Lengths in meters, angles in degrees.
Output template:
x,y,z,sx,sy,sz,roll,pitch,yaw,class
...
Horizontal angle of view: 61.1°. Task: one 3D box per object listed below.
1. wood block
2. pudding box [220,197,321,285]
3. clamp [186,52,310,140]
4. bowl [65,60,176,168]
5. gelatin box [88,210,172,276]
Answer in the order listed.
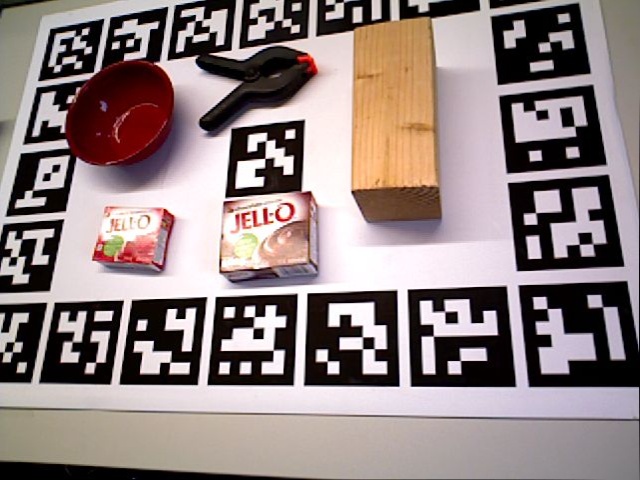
x,y,z,sx,sy,sz,roll,pitch,yaw,class
0.096,-0.124,0.594,0.090,0.091,0.204,0,71,13,wood block
-0.055,0.003,0.620,0.114,0.039,0.089,-5,74,16,pudding box
-0.095,-0.203,0.713,0.165,0.037,0.121,-13,68,9,clamp
-0.255,-0.158,0.729,0.162,0.055,0.160,-4,73,13,bowl
-0.235,0.003,0.672,0.090,0.030,0.073,5,74,17,gelatin box
